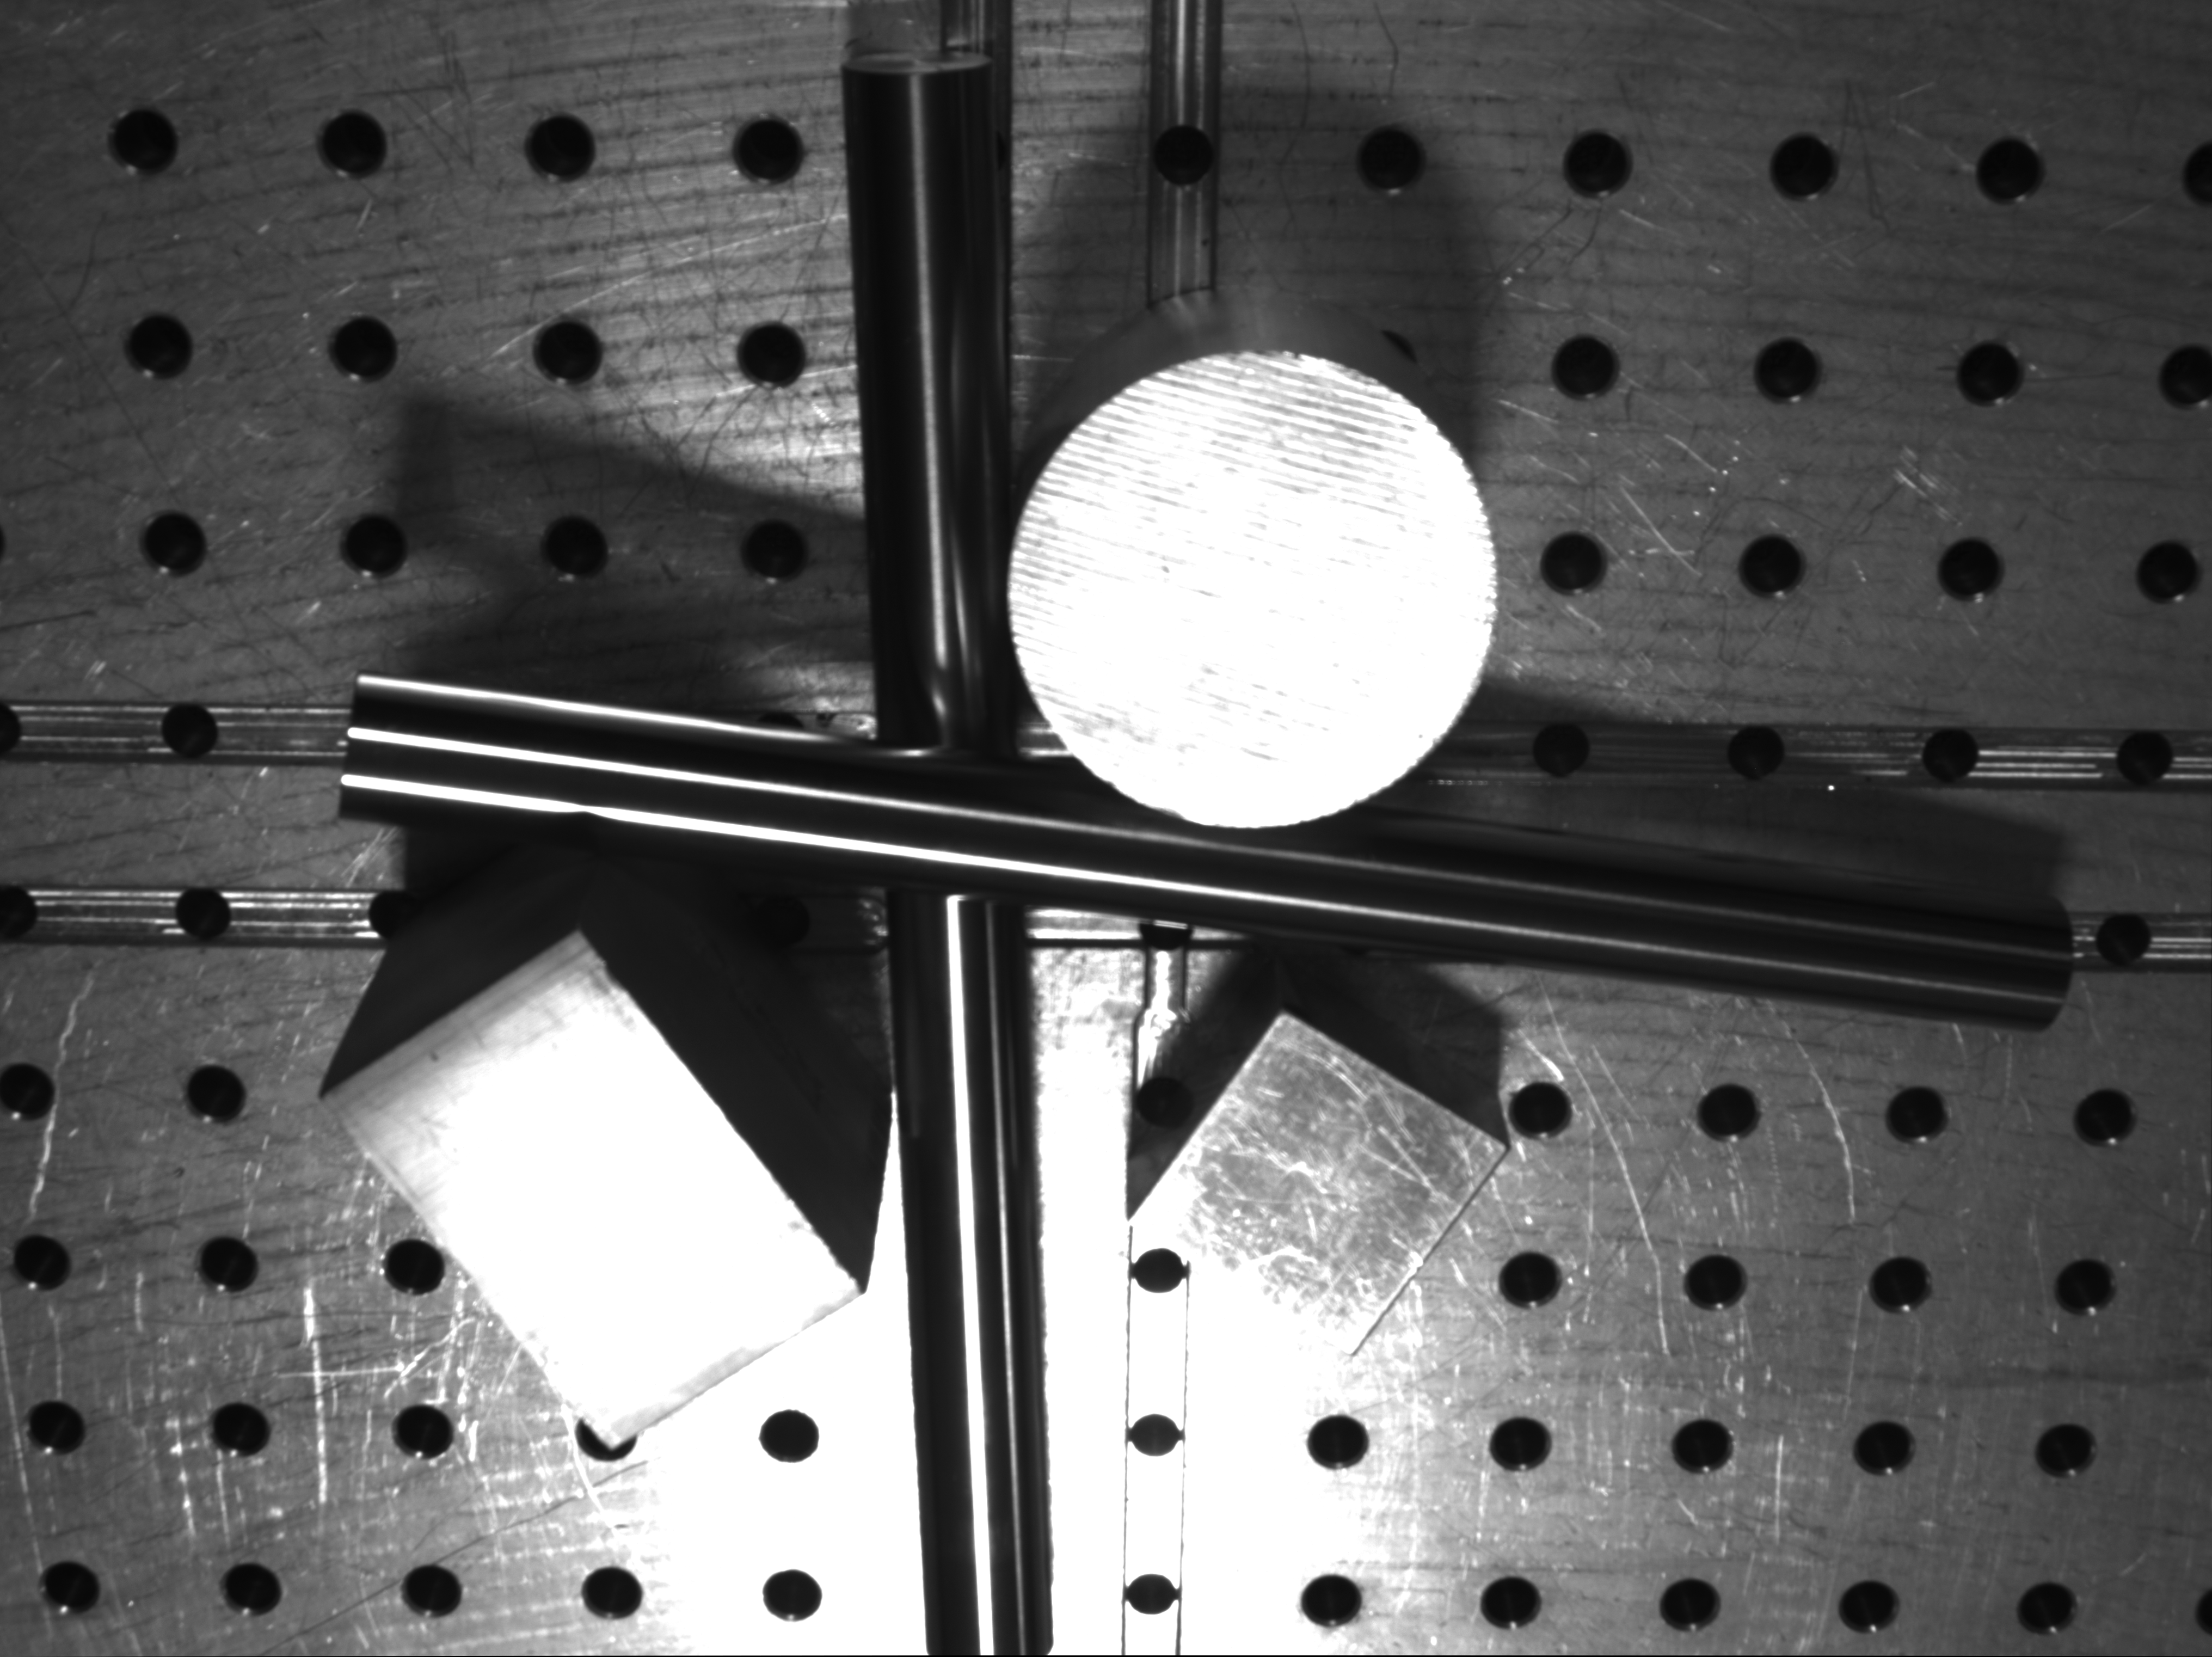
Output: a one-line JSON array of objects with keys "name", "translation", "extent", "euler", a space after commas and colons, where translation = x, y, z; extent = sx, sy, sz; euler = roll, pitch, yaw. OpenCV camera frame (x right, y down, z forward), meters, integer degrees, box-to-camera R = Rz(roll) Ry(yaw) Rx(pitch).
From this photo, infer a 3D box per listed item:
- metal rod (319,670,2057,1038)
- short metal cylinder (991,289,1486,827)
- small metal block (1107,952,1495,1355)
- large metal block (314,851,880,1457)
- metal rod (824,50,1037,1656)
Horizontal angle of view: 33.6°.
[{"name": "metal rod", "translation": [0.019, 0.006, 0.628], "extent": [0.300, 0.025, 0.025], "euler": [8, 110, -11]}, {"name": "short metal cylinder", "translation": [0.021, -0.046, 0.615], "extent": [0.080, 0.050, 0.080], "euler": [0, 110, -1]}, {"name": "small metal block", "translation": [0.035, 0.059, 0.668], "extent": [0.050, 0.025, 0.050], "euler": [32, 107, -11]}, {"name": "large metal block", "translation": [-0.084, 0.047, 0.631], "extent": [0.050, 0.080, 0.080], "euler": [-33, 107, 11]}, {"name": "metal rod", "translation": [-0.030, 0.015, 0.651], "extent": [0.025, 0.025, 0.300], "euler": [-2, 110, 0]}]
